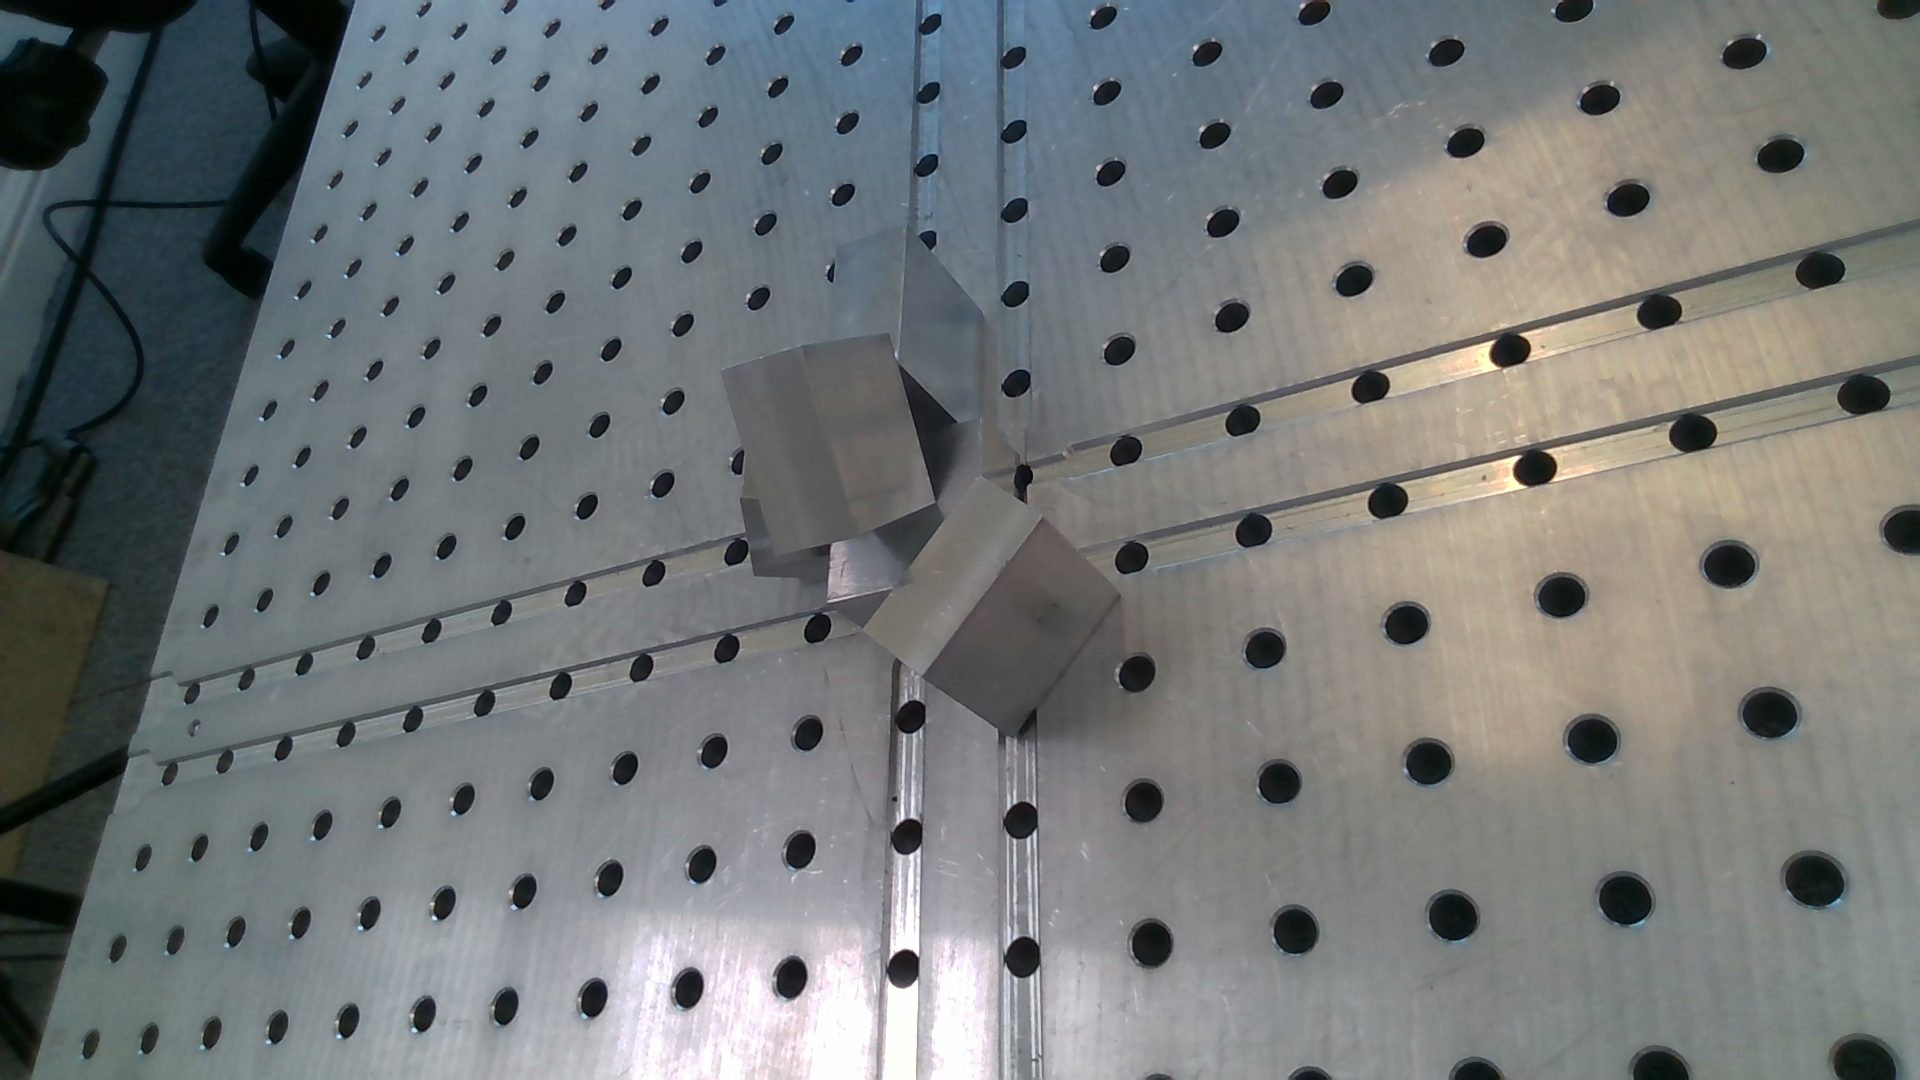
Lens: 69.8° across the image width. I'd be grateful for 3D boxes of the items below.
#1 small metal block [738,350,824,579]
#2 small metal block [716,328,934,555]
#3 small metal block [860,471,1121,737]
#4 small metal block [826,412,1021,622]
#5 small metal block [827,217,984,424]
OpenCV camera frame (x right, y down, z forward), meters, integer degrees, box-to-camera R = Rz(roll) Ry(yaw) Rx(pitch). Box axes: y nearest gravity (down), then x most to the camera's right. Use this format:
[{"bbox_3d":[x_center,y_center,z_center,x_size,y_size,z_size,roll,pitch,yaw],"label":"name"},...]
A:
[{"bbox_3d":[-0.051,-0.022,0.419,0.025,0.050,0.050,2,62,-2],"label":"small metal block"},{"bbox_3d":[-0.035,-0.028,0.370,0.025,0.050,0.050,-12,97,26],"label":"small metal block"},{"bbox_3d":[0.009,0.018,0.364,0.025,0.050,0.050,34,86,38],"label":"small metal block"},{"bbox_3d":[-0.010,-0.004,0.404,0.050,0.025,0.050,-13,60,26],"label":"small metal block"},{"bbox_3d":[-0.016,-0.060,0.421,0.025,0.050,0.050,-13,59,26],"label":"small metal block"}]
